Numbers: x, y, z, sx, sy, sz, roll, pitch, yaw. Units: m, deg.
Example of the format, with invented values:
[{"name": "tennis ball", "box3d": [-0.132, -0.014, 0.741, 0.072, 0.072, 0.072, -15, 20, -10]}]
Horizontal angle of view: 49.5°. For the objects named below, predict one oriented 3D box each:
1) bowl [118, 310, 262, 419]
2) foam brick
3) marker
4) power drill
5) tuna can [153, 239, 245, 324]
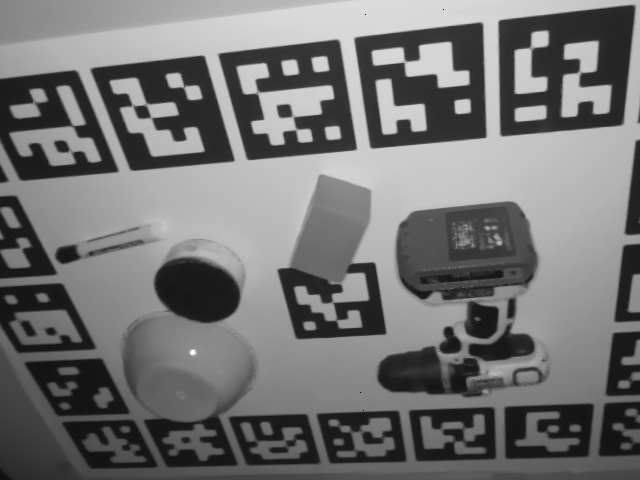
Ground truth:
[{"name": "bowl", "box3d": [-0.148, 0.150, 0.771, 0.162, 0.055, 0.160, 0, 132, 1]}, {"name": "foam brick", "box3d": [0.013, -0.017, 0.635, 0.051, 0.053, 0.077, 16, 124, -4]}, {"name": "marker", "box3d": [-0.211, 0.002, 0.680, 0.120, 0.020, 0.019, -12, 121, 14]}, {"name": "power drill", "box3d": [0.144, 0.069, 0.677, 0.183, 0.058, 0.186, -4, 127, 12]}, {"name": "tuna can", "box3d": [-0.119, 0.041, 0.692, 0.085, 0.034, 0.085, 4, 126, 6]}]
